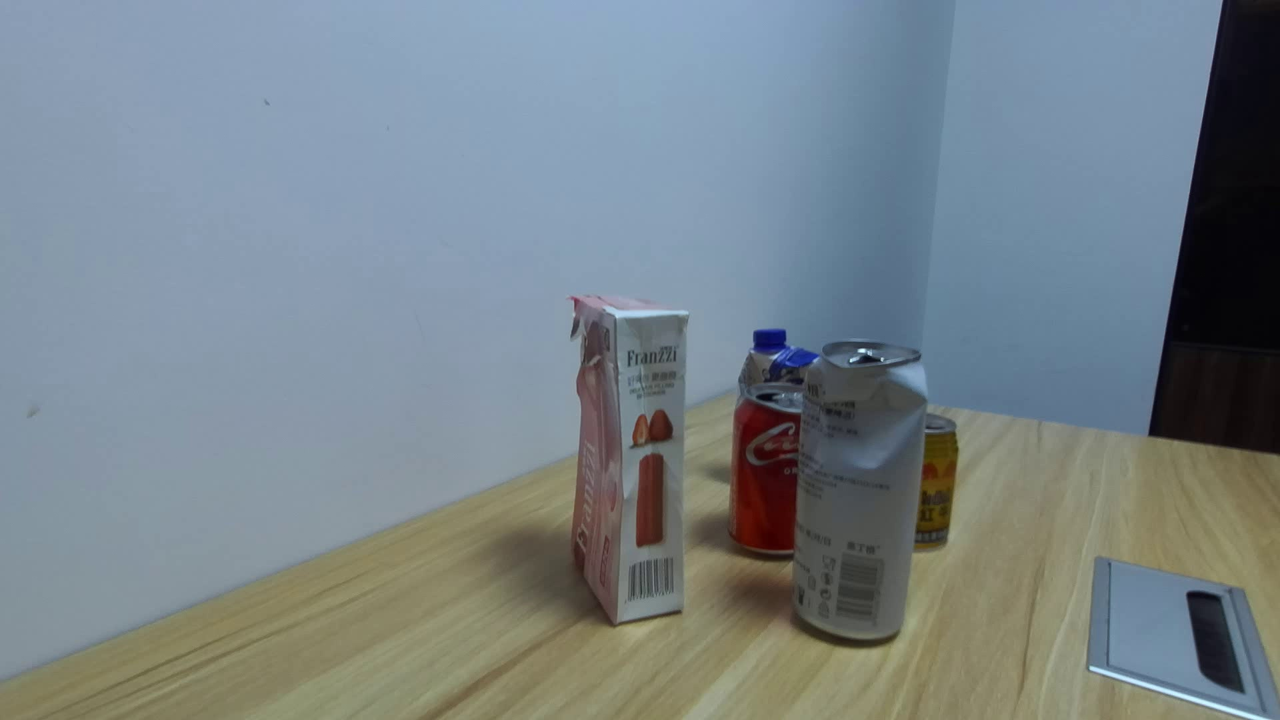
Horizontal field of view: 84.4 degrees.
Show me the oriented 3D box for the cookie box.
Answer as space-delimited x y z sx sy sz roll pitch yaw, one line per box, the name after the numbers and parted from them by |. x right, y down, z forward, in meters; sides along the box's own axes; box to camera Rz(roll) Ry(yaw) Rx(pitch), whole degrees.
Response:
-0.011 0.055 0.437 0.059 0.104 0.186 -1 -79 -18 | cookie box

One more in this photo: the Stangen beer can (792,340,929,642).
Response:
0.124 0.075 0.405 0.066 0.066 0.166 2 -78 5 | Stangen beer can

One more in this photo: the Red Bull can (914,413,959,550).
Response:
0.207 0.090 0.541 0.067 0.067 0.093 0 -79 -7 | Red Bull can

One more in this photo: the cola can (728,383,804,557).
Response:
0.101 0.077 0.511 0.072 0.065 0.117 -4 -79 -8 | cola can

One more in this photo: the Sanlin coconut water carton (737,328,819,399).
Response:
0.116 0.027 0.565 0.057 0.144 0.068 8 -79 -3 | Sanlin coconut water carton
